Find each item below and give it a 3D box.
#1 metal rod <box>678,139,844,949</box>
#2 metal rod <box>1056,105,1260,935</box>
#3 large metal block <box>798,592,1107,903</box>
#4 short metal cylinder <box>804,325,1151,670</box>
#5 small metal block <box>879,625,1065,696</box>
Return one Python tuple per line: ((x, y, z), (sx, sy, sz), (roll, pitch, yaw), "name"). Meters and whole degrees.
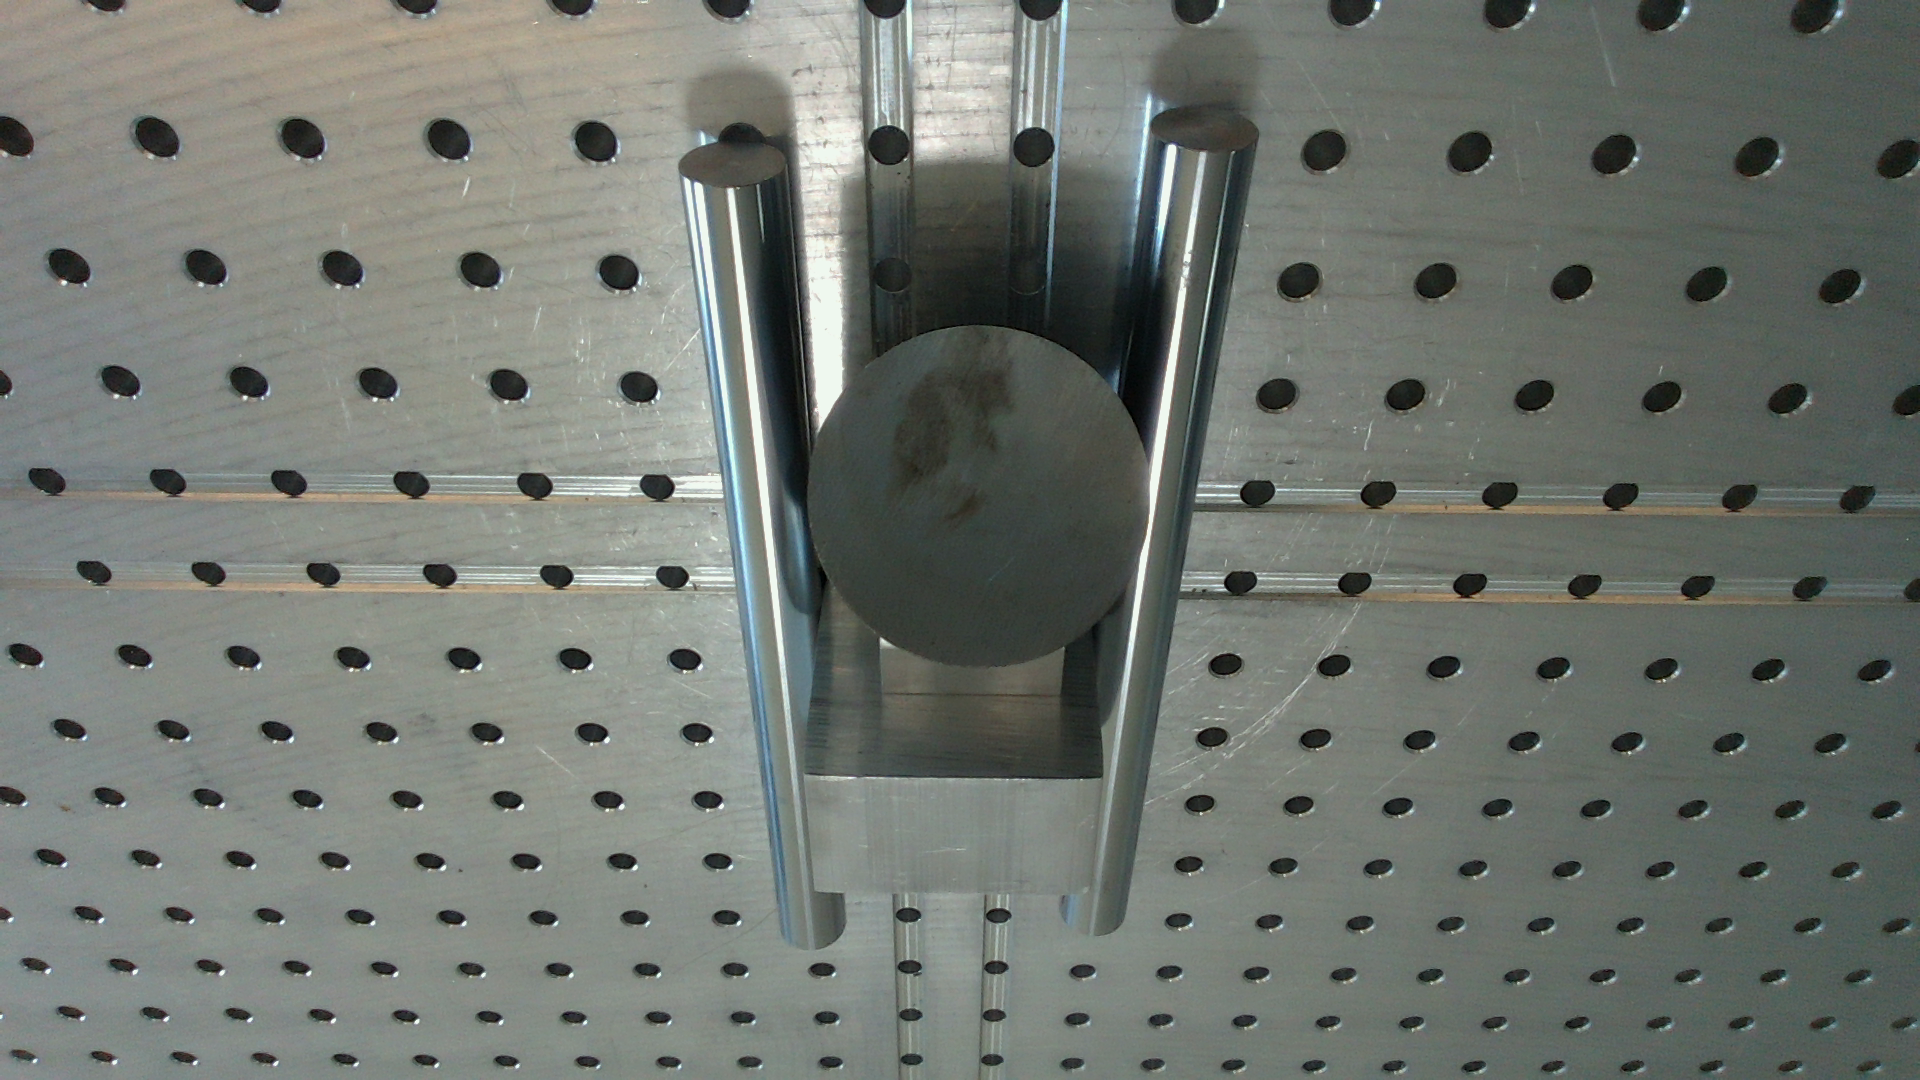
((-0.054, 0.027, 0.416), (0.025, 0.025, 0.300), (0, 130, 0), "metal rod")
((0.052, 0.020, 0.411), (0.025, 0.025, 0.300), (1, 130, -1), "metal rod")
((-0.002, 0.057, 0.403), (0.080, 0.080, 0.050), (0, 130, -1), "large metal block")
((0.004, -0.008, 0.342), (0.080, 0.050, 0.080), (0, 86, -1), "short metal cylinder")
((0.003, 0.017, 0.392), (0.050, 0.050, 0.025), (1, 130, -1), "small metal block")
